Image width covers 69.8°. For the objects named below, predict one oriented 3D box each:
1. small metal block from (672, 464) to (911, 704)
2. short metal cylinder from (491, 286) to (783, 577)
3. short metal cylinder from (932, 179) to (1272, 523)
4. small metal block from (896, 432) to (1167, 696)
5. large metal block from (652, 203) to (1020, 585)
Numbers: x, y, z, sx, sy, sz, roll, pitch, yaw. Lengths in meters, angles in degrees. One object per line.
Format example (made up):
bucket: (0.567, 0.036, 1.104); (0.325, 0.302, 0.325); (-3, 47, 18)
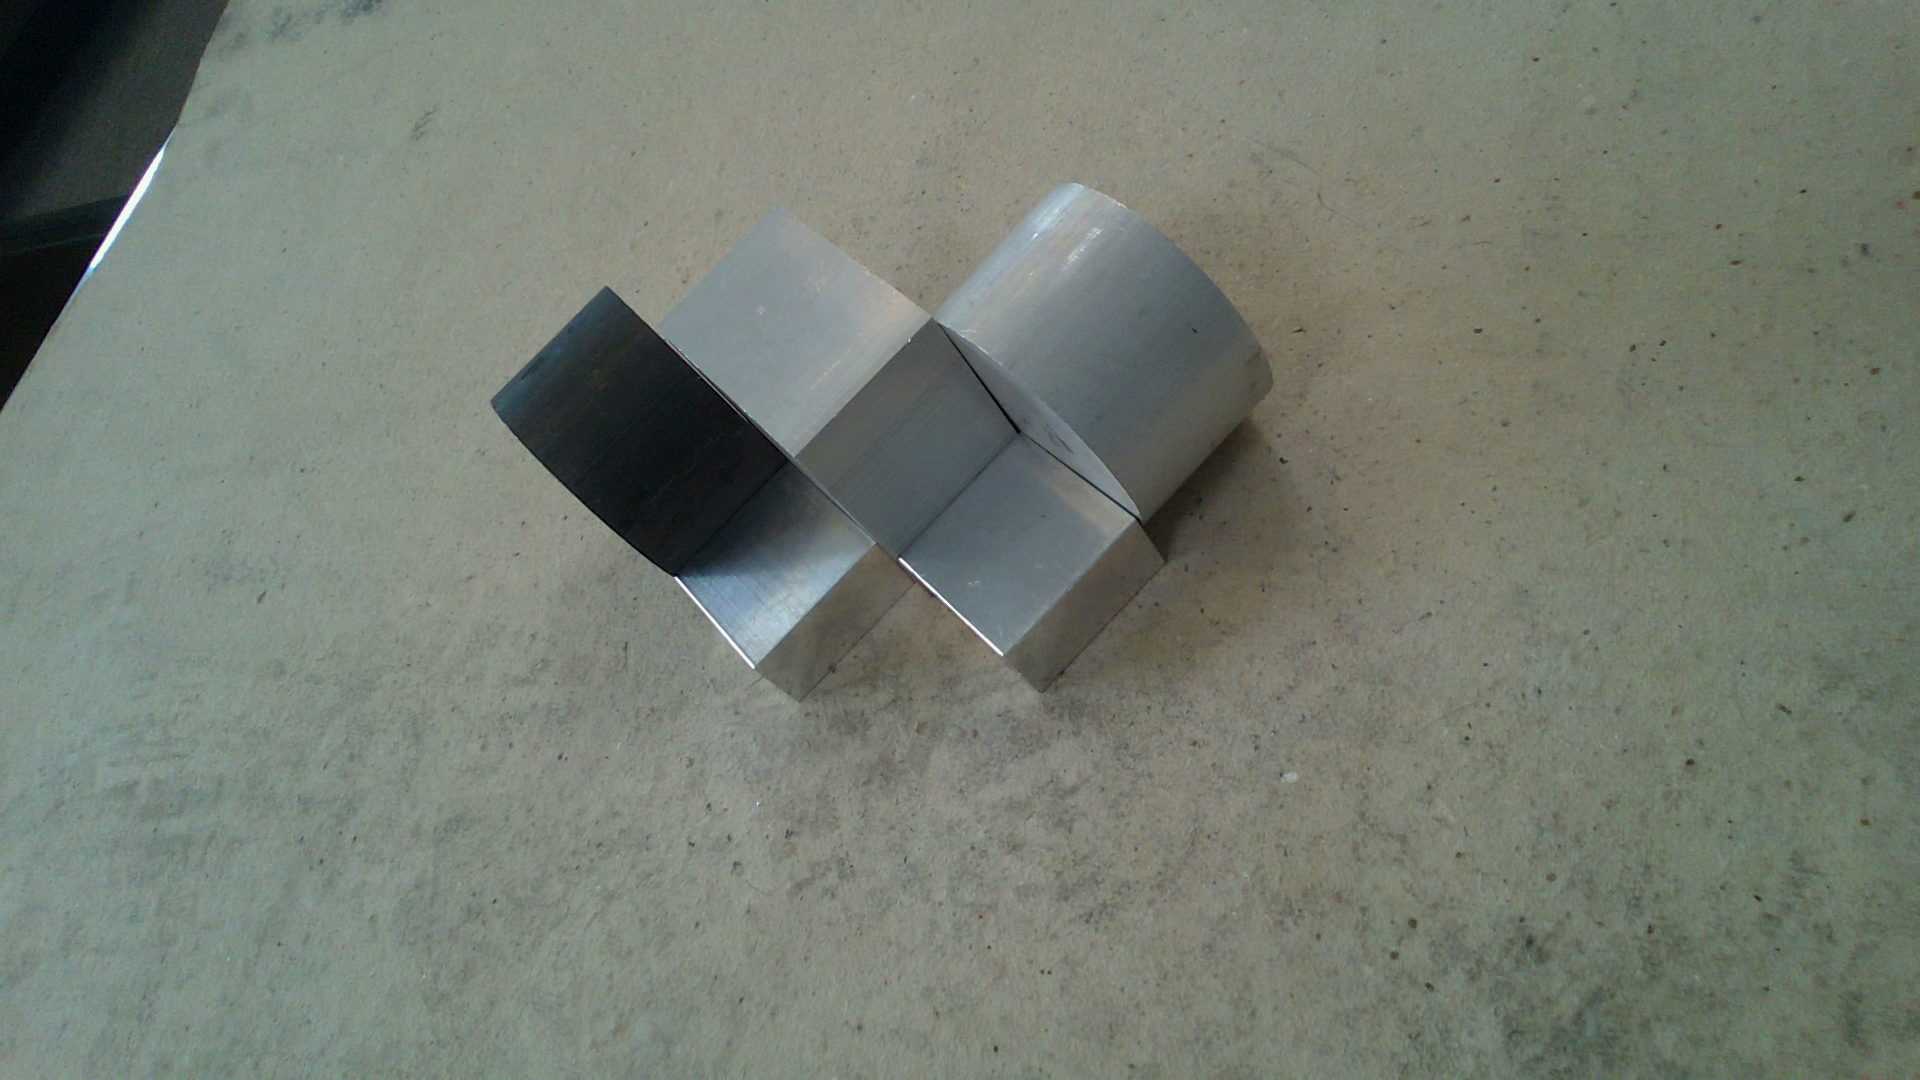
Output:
small metal block: (-0.051, 0.012, 0.415); (0.050, 0.025, 0.050); (-46, 51, -4)
short metal cylinder: (-0.098, -0.033, 0.432); (0.050, 0.080, 0.080); (-46, 51, -4)
short metal cylinder: (0.036, -0.049, 0.369); (0.050, 0.080, 0.080); (-46, 51, -4)
small metal block: (0.019, 0.006, 0.381); (0.050, 0.025, 0.050); (-46, 51, -4)
large metal block: (-0.030, -0.040, 0.401); (0.050, 0.080, 0.080); (-46, 51, -4)
